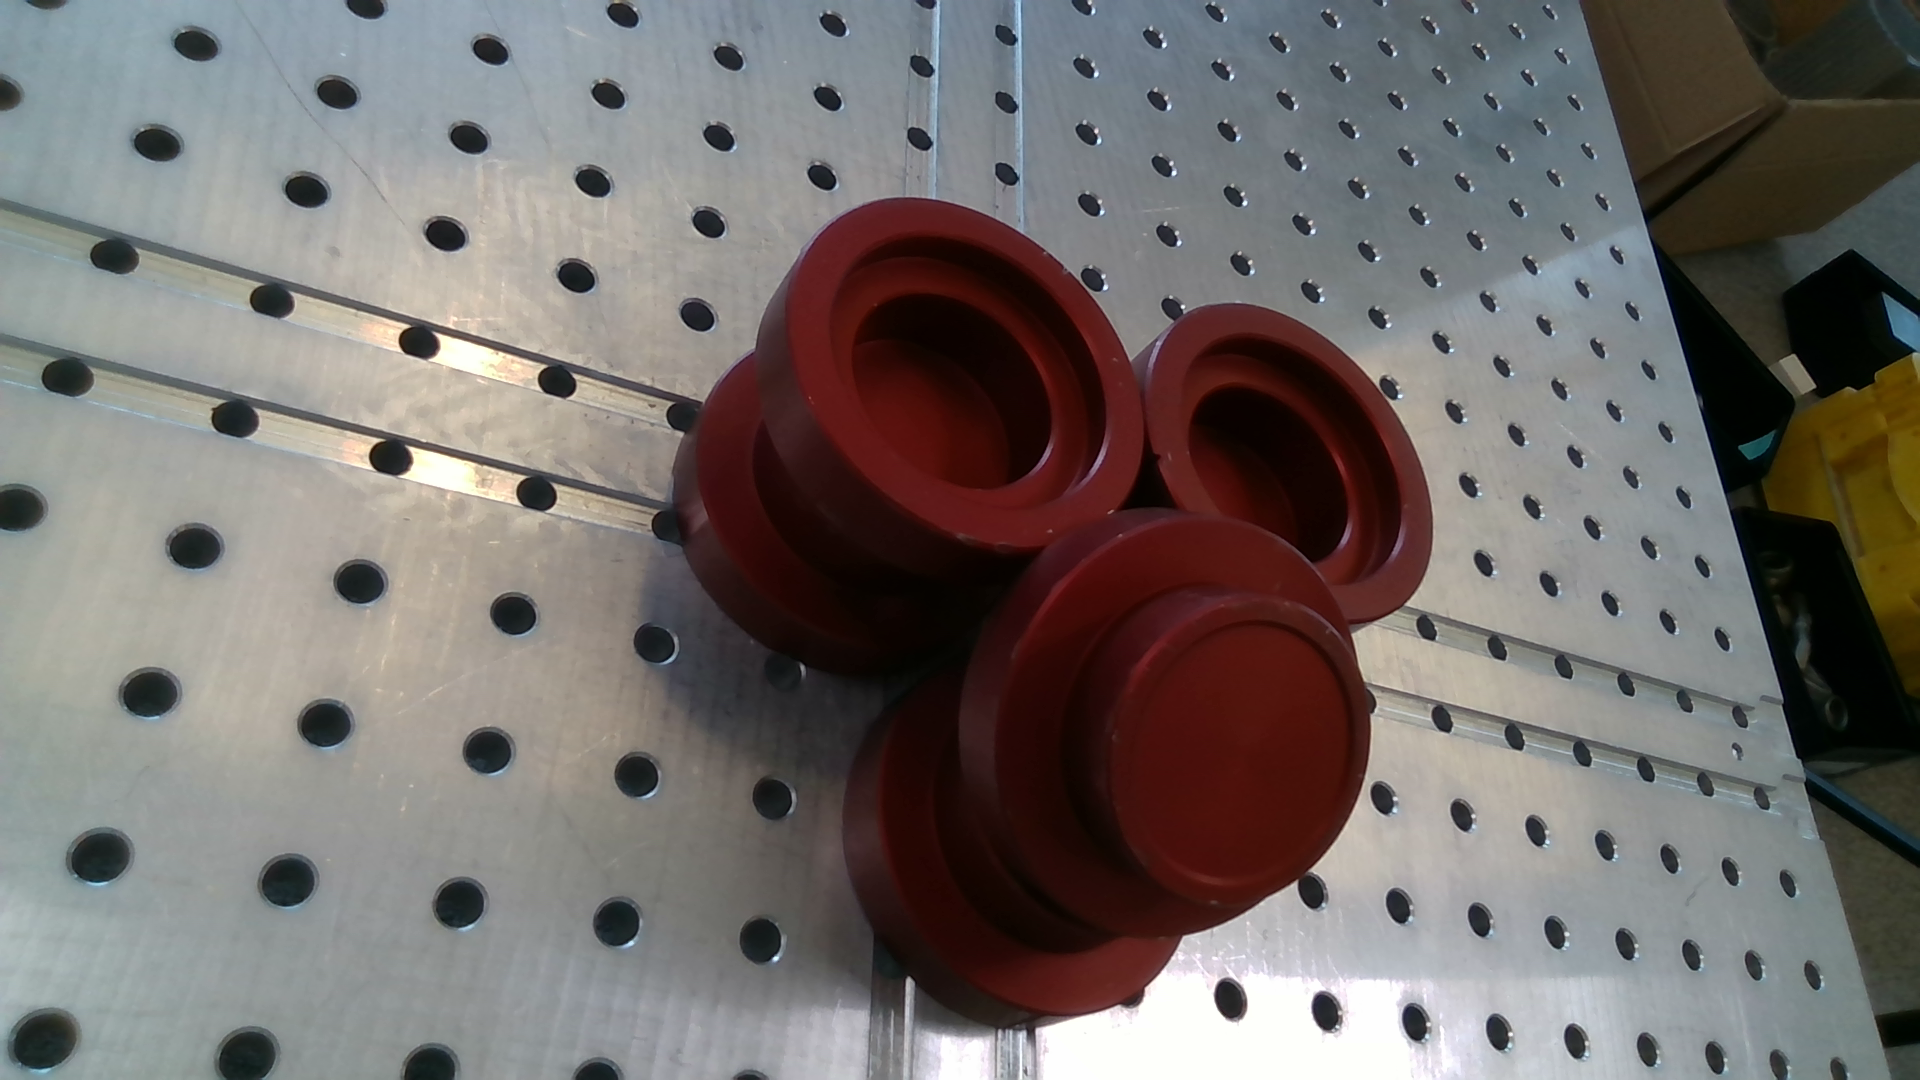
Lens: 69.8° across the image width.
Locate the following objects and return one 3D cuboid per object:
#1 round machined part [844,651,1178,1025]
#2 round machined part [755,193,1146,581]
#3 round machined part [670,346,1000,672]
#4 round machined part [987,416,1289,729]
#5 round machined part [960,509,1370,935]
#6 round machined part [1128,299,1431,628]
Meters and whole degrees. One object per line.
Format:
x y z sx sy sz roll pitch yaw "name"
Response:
0.023 0.073 0.361 0.098 0.042 0.098 14 59 -25 "round machined part"
-0.006 -0.034 0.345 0.098 0.042 0.098 14 59 -25 "round machined part"
-0.026 -0.017 0.379 0.098 0.042 0.098 14 59 -25 "round machined part"
0.061 0.005 0.421 0.098 0.042 0.098 14 59 -25 "round machined part"
0.053 0.043 0.313 0.098 0.042 0.098 -3 98 -24 "round machined part"
0.081 -0.015 0.388 0.098 0.042 0.098 14 59 -25 "round machined part"
